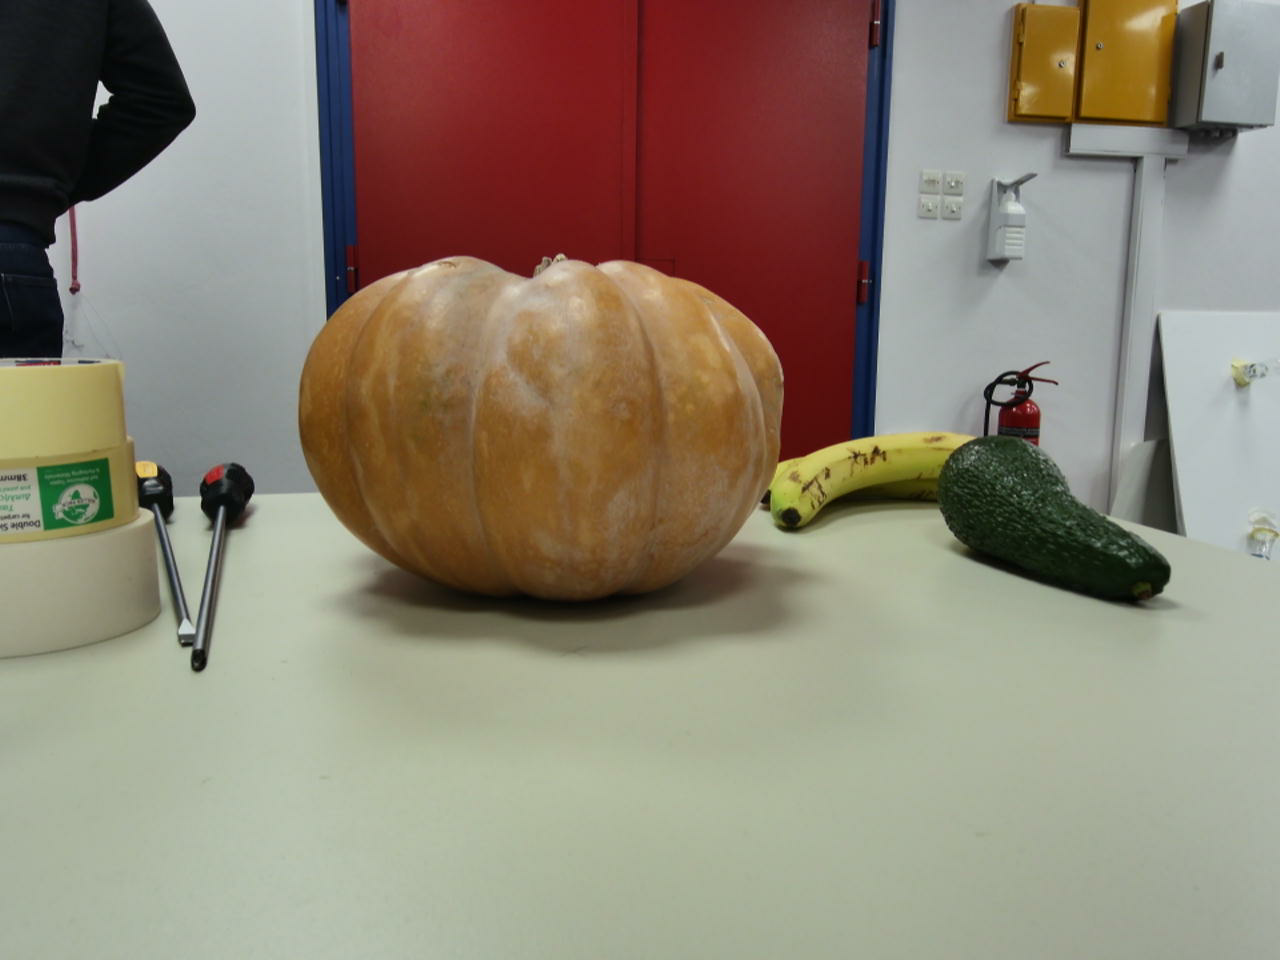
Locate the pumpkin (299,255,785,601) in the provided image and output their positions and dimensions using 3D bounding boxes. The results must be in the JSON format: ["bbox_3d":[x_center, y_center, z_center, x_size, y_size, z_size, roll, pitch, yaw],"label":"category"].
[{"bbox_3d":[-0.049,-0.033,0.555,0.277,0.181,0.277,0,7,0],"label":"pumpkin"}]
